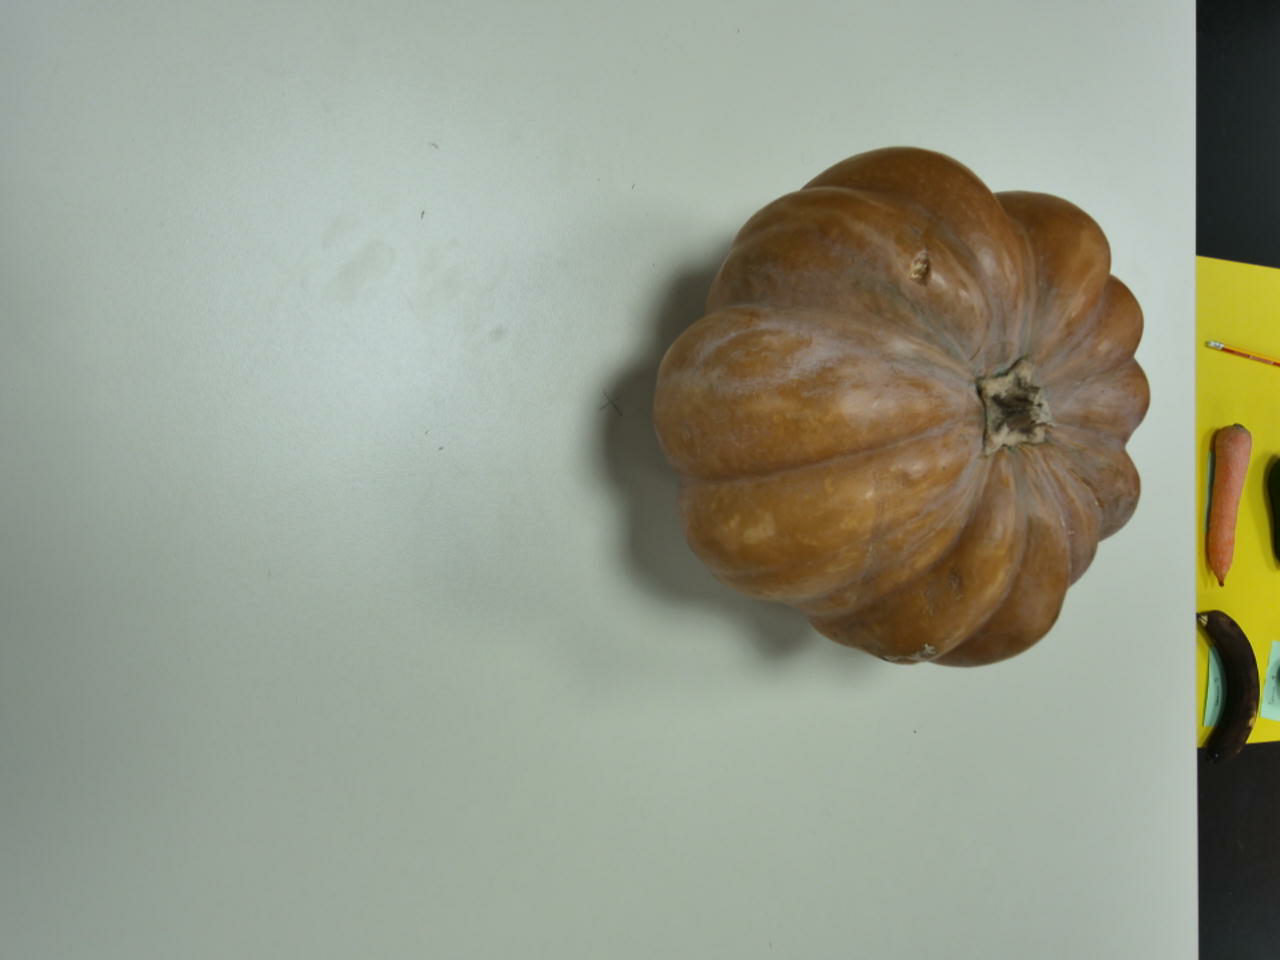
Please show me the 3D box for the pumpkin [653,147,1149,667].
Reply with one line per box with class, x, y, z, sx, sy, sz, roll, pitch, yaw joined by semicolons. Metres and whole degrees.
pumpkin;0.140;-0.036;0.528;0.277;0.181;0.277;0;91;-23
